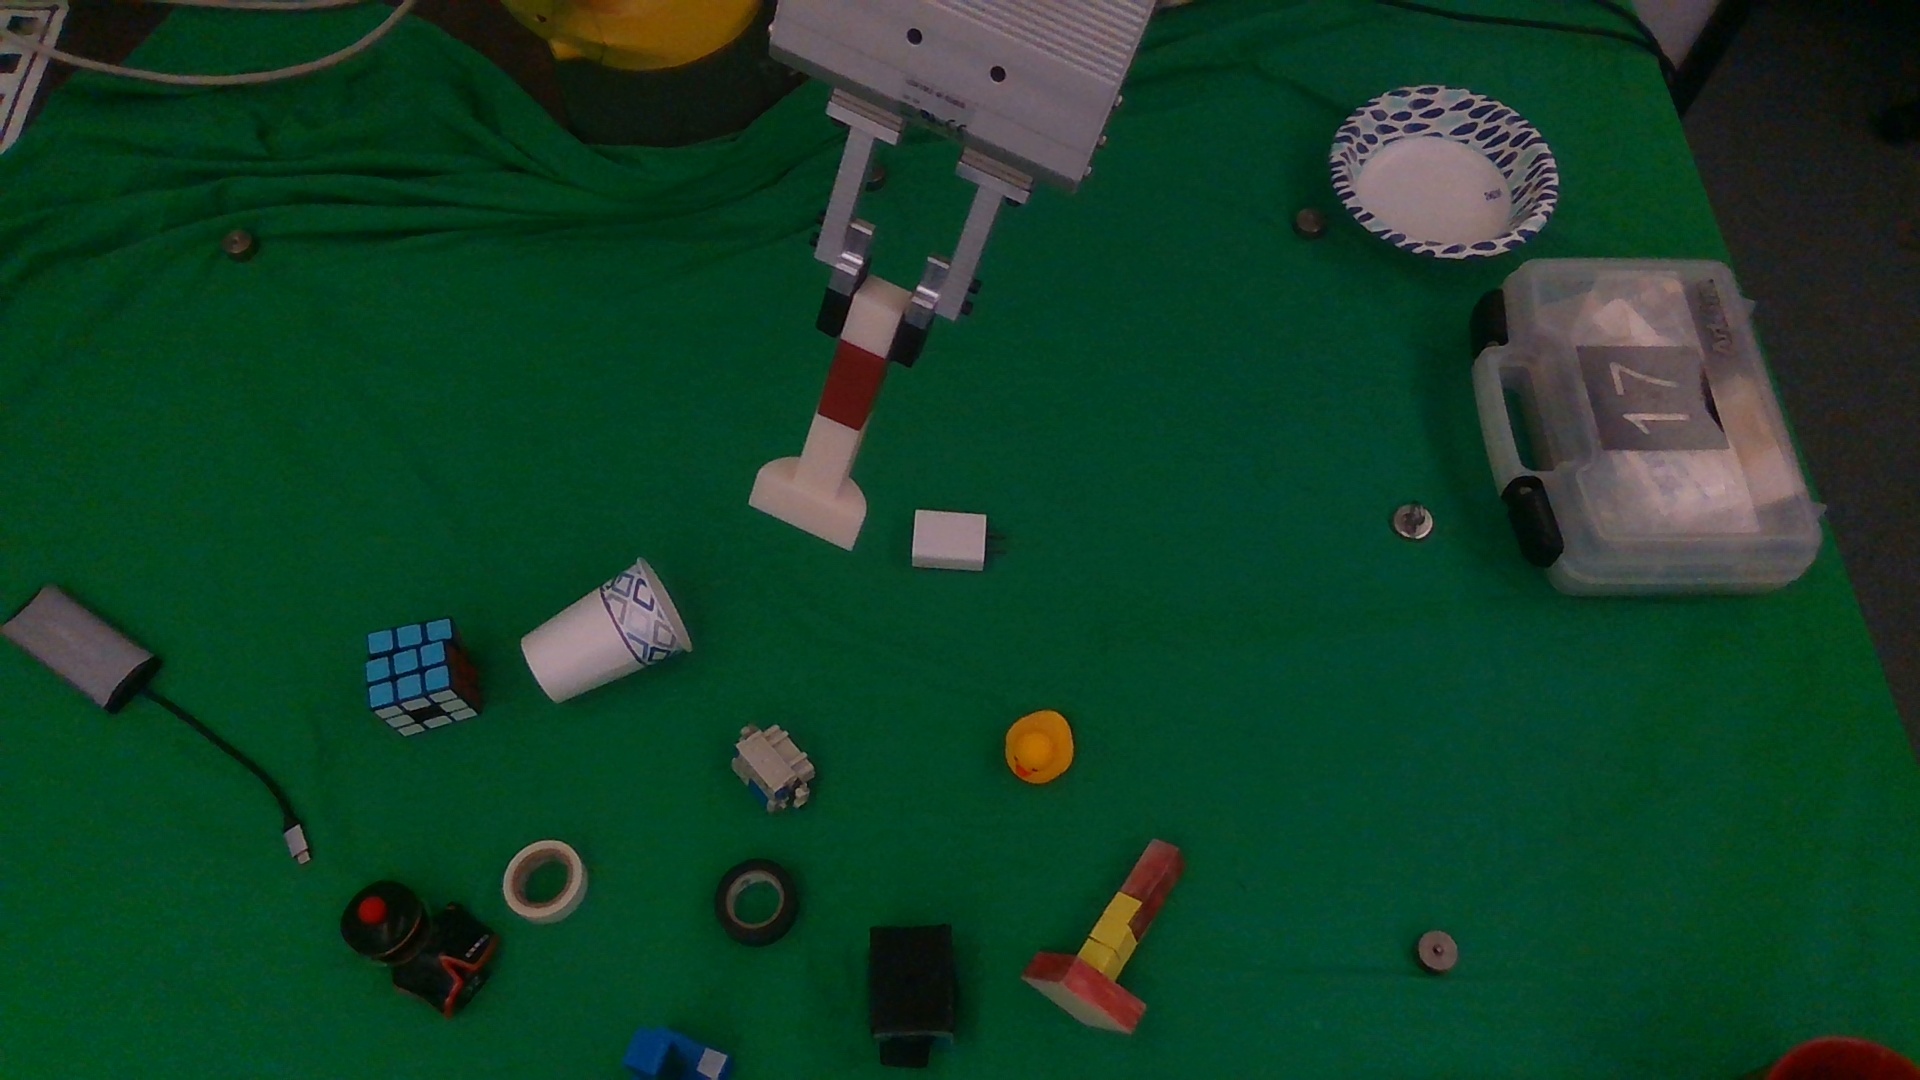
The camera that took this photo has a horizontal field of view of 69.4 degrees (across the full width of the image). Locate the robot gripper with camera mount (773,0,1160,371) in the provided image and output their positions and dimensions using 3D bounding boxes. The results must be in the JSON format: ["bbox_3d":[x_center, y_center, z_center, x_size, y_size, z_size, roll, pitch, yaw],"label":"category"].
[{"bbox_3d":[0.007,-0.182,0.562,0.119,0.159,0.193,26,42,0],"label":"robot gripper with camera mount"}]

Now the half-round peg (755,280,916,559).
[{"bbox_3d":[-0.045,-0.051,0.575,0.054,0.122,0.031,26,38,2],"label":"half-round peg"}]
